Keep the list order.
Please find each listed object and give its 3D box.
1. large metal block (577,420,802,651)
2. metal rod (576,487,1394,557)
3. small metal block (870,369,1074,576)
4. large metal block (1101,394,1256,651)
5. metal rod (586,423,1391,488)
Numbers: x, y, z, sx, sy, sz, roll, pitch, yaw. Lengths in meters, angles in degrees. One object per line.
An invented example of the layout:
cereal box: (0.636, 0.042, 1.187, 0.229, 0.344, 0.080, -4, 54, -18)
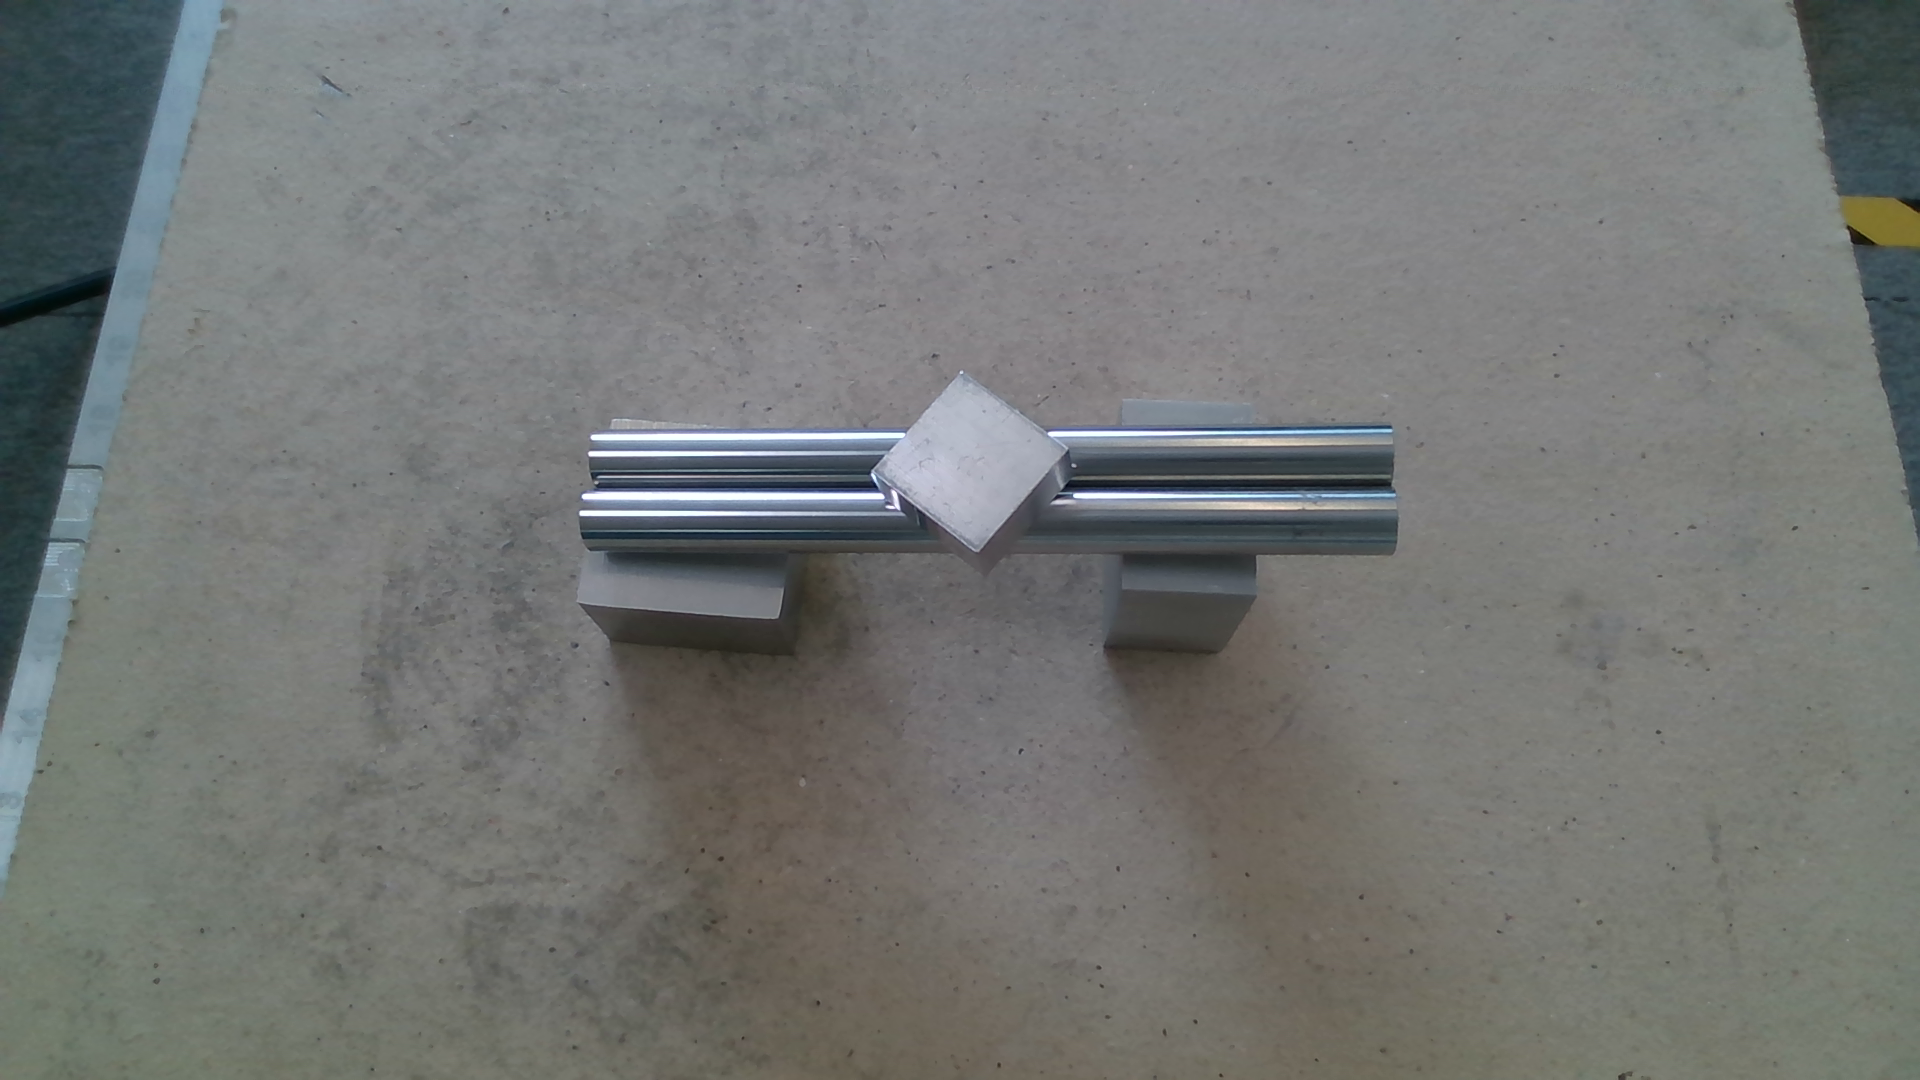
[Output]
large metal block: (-0.107, 0.000, 0.575, 0.080, 0.050, 0.080, 4, 70, 2)
metal rod: (0.005, -0.007, 0.514, 0.300, 0.025, 0.025, 0, 70, 8)
small metal block: (0.005, -0.024, 0.493, 0.050, 0.025, 0.050, 38, 80, 18)
large metal block: (0.087, -0.005, 0.561, 0.050, 0.080, 0.080, 3, 70, 1)
metal rod: (0.006, -0.031, 0.522, 0.300, 0.025, 0.025, 0, 70, 8)
